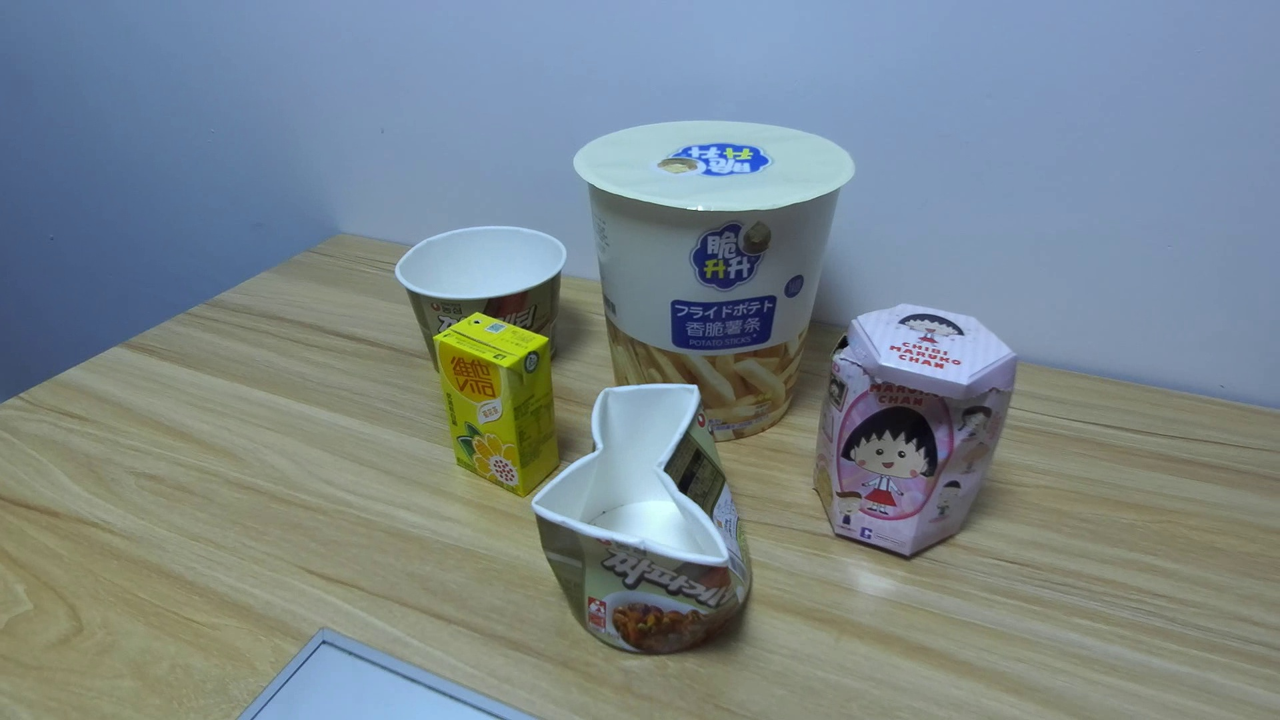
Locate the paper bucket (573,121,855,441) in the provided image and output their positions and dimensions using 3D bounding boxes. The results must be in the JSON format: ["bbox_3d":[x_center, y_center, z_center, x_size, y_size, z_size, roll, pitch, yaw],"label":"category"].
[{"bbox_3d":[0.051,-0.058,0.533,0.198,0.195,0.198,0,33,1],"label":"paper bucket"}]

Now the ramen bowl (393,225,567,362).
[{"bbox_3d":[-0.130,-0.047,0.610,0.140,0.095,0.140,0,34,1],"label":"ramen bowl"}]

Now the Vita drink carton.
[{"bbox_3d":[-0.095,0.030,0.481,0.066,0.109,0.044,20,39,27],"label":"Vita drink carton"}]

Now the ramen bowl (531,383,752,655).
[{"bbox_3d":[0.011,0.086,0.402,0.111,0.093,0.128,10,35,15],"label":"ramen bowl"}]

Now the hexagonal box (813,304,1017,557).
[{"bbox_3d":[0.162,0.042,0.435,0.090,0.134,0.091,-12,34,-21],"label":"hexagonal box"}]
